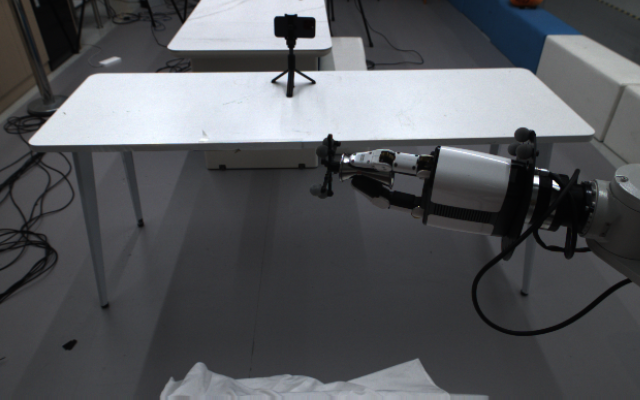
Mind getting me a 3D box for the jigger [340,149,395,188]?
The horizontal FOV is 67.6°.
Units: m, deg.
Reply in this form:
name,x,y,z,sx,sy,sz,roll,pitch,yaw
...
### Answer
name,x,y,z,sx,sy,sz,roll,pitch,yaw
jigger,0.069,-0.043,0.634,0.071,0.043,0.043,6,35,13
